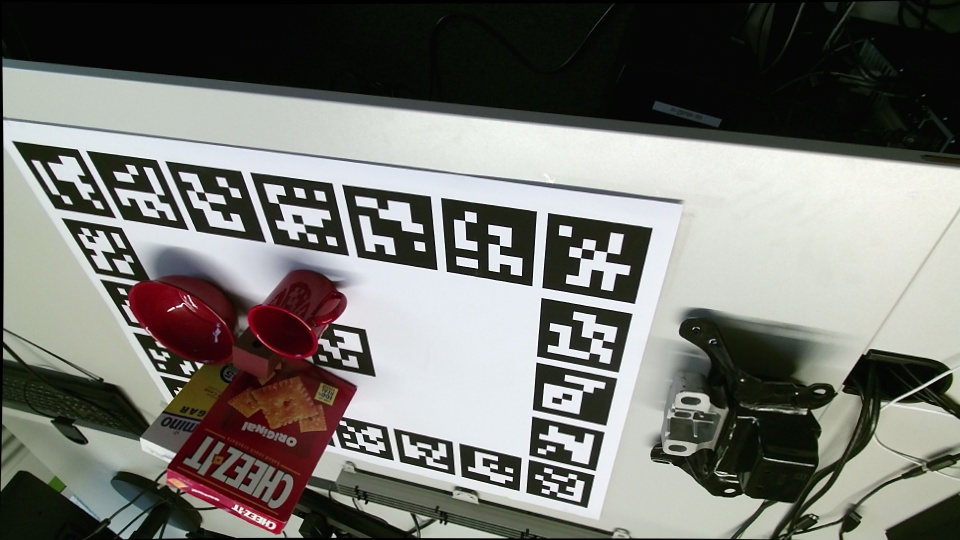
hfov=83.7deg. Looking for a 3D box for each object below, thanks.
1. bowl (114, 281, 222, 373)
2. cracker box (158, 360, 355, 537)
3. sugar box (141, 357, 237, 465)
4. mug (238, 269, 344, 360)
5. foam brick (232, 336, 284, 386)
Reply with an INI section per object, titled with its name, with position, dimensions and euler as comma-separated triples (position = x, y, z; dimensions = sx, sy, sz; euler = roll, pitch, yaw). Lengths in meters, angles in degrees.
[bowl]
position = -0.419, 0.069, 0.745
dimensions = 0.162, 0.055, 0.162
euler = 9, 129, 11
[cracker box]
position = -0.299, 0.233, 0.749
dimensions = 0.164, 0.213, 0.072
euler = 31, 132, -7
[sugar box]
position = -0.403, 0.217, 0.792
dimensions = 0.093, 0.176, 0.045
euler = 24, 131, -2
[mug]
position = -0.223, 0.053, 0.660
dimensions = 0.117, 0.081, 0.093
euler = 0, 135, 16
[foam brick]
position = -0.299, 0.108, 0.743
dimensions = 0.053, 0.078, 0.051
euler = 20, 132, 1
